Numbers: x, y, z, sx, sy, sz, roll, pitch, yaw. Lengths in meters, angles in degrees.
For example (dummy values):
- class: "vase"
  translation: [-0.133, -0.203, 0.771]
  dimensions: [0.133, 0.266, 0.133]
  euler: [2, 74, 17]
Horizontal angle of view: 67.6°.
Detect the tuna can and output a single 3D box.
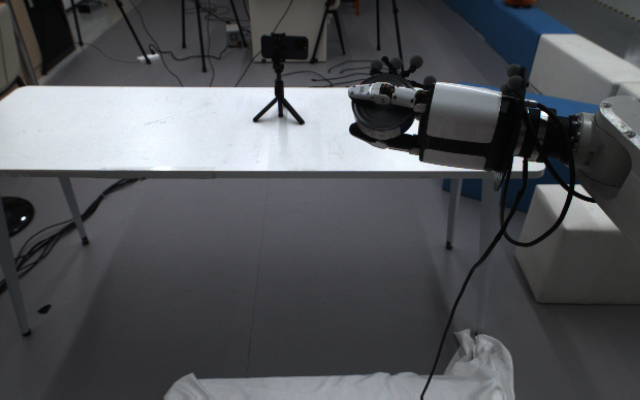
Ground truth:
- class: "tuna can"
  translation: [0.087, -0.127, 0.656]
  dimensions: [0.085, 0.034, 0.085]
  euler: [-4, 67, 10]
